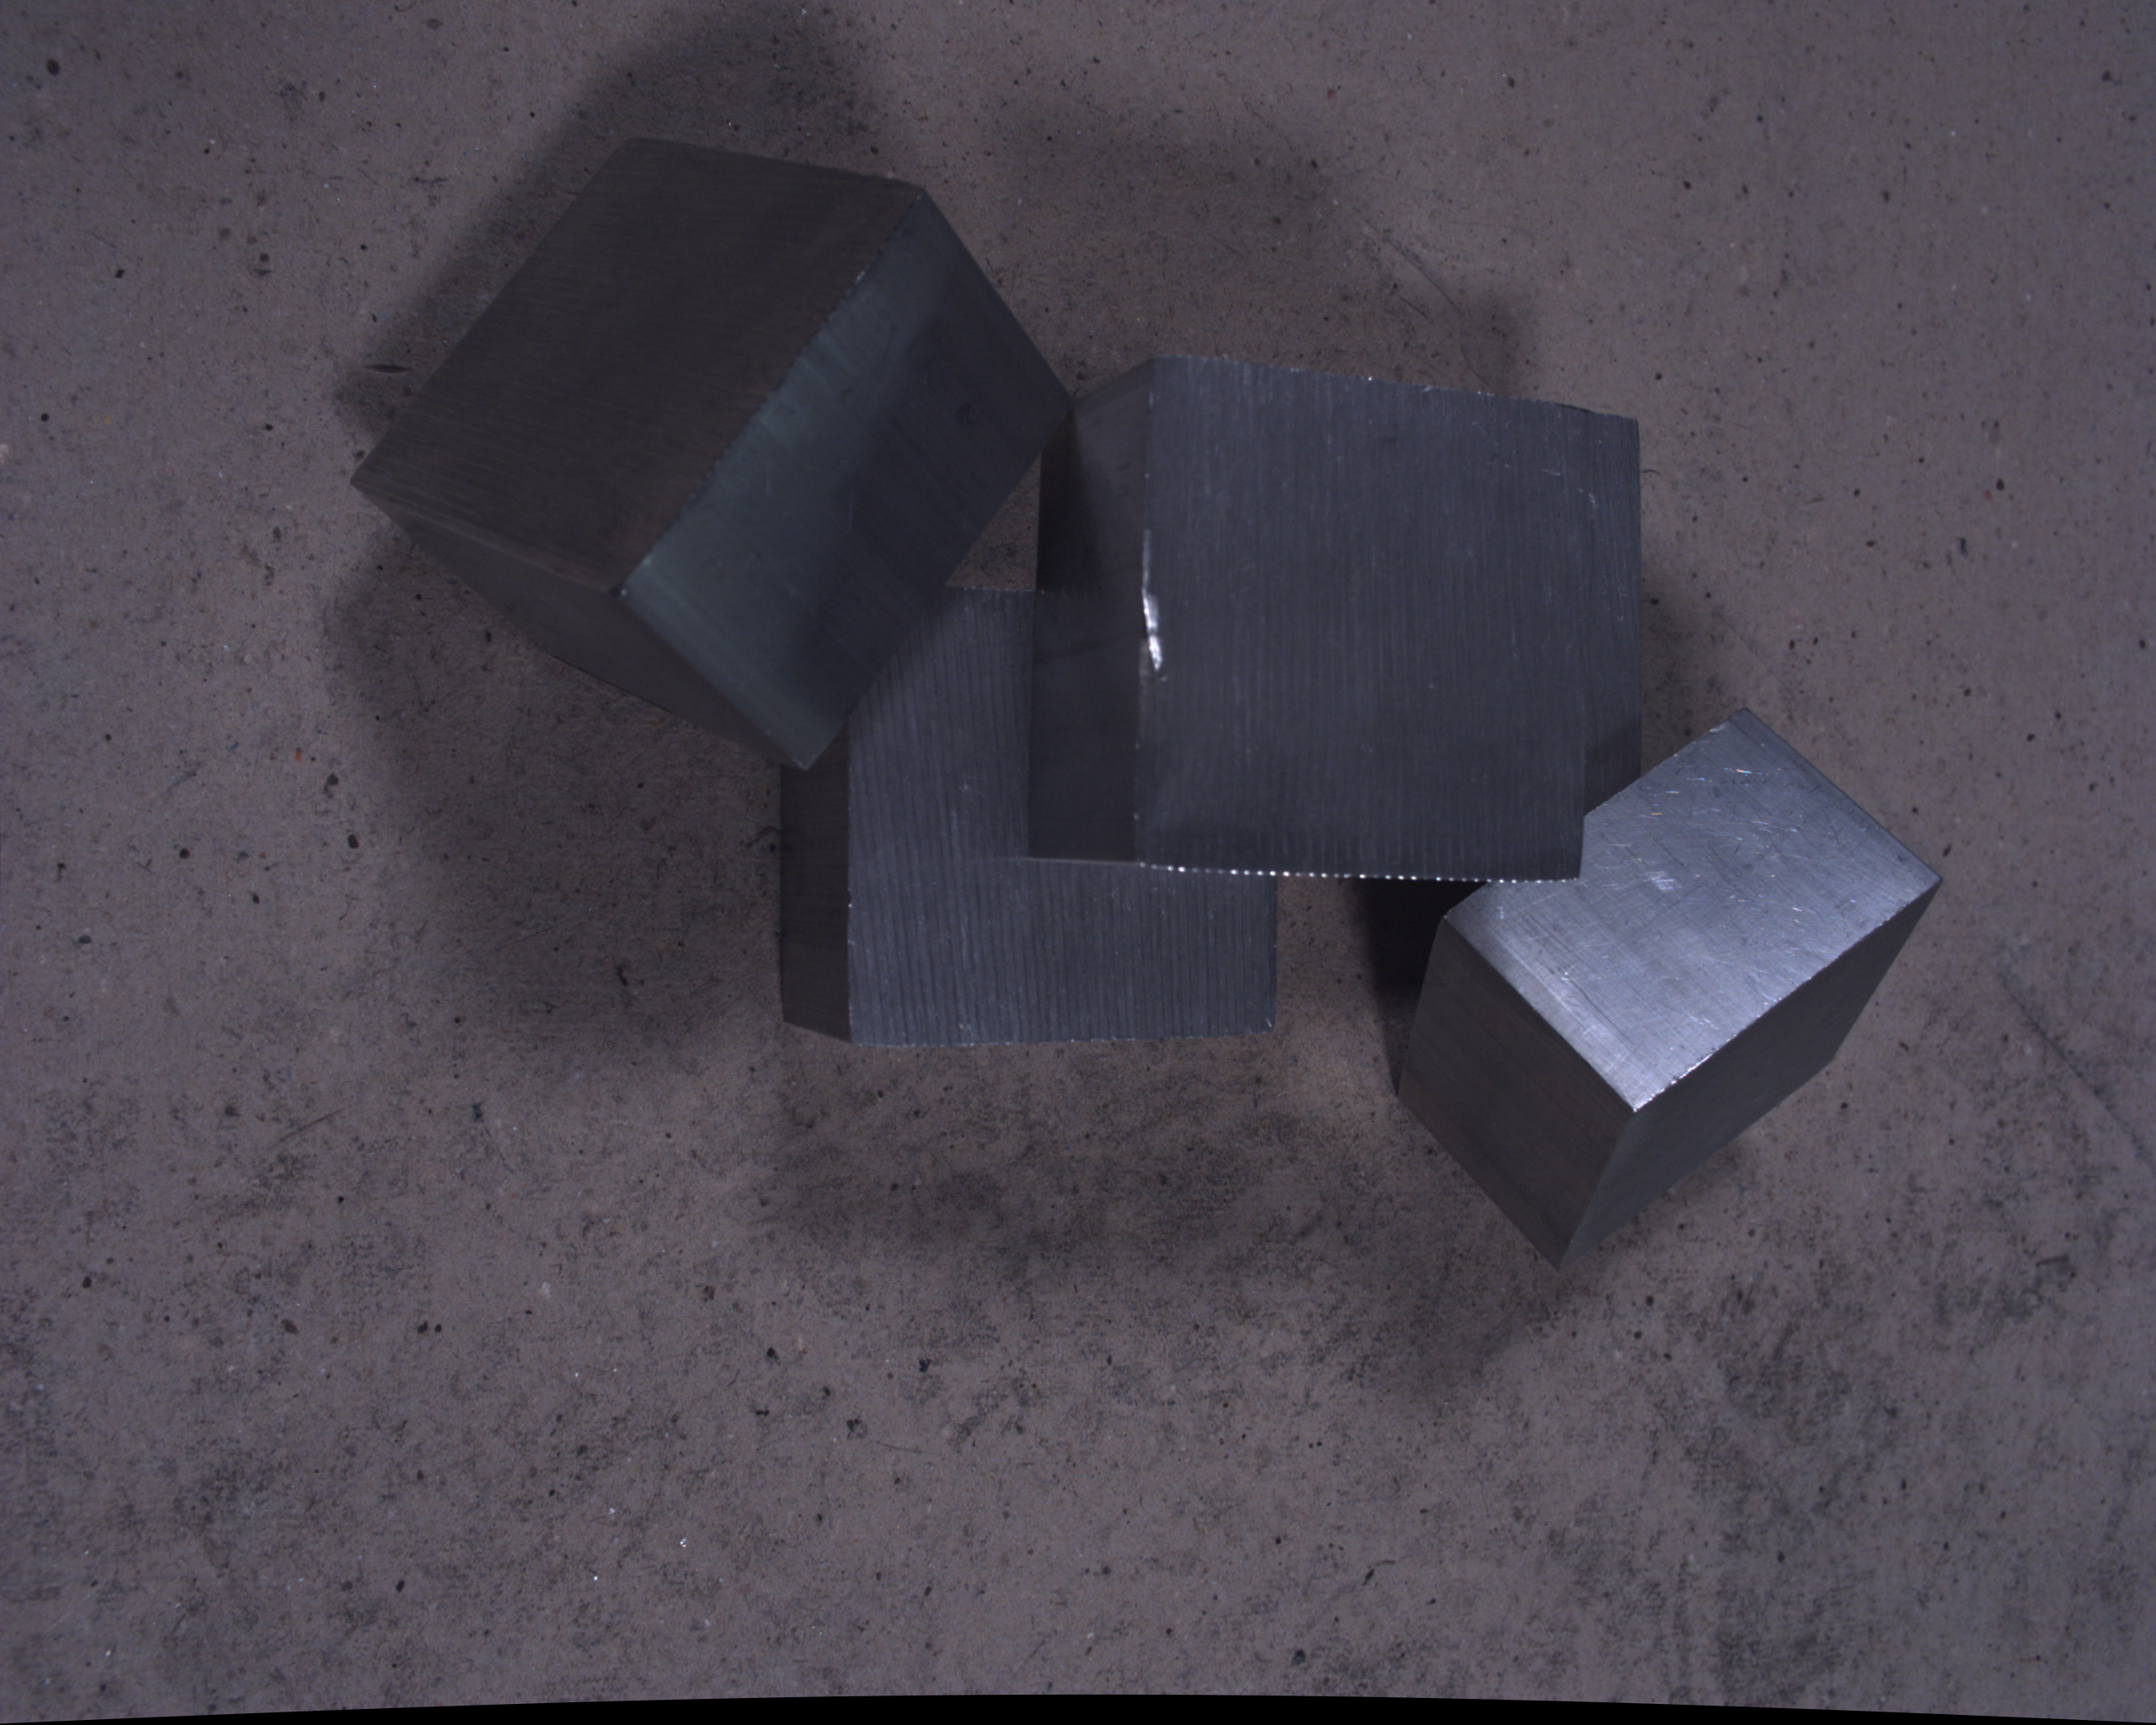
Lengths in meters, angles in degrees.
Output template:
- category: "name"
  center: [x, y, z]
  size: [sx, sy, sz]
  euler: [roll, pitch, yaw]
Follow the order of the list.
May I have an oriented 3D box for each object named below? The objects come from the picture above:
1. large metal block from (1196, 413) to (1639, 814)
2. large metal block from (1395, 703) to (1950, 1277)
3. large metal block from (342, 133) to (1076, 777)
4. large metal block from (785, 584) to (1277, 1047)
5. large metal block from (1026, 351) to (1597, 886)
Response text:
- category: "large metal block"
  center: [0.065, -0.049, 0.423]
  size: [0.081, 0.050, 0.079]
  euler: [0, 90, -21]
- category: "large metal block"
  center: [0.115, 0.027, 0.418]
  size: [0.080, 0.080, 0.050]
  euler: [-33, 63, -17]
- category: "large metal block"
  center: [-0.062, -0.071, 0.351]
  size: [0.080, 0.080, 0.050]
  euler: [-56, 140, -12]
- category: "large metal block"
  center: [-0.010, -0.008, 0.392]
  size: [0.081, 0.050, 0.079]
  euler: [0, 90, -21]
- category: "large metal block"
  center: [0.039, -0.037, 0.357]
  size: [0.081, 0.050, 0.079]
  euler: [2, 89, -20]
